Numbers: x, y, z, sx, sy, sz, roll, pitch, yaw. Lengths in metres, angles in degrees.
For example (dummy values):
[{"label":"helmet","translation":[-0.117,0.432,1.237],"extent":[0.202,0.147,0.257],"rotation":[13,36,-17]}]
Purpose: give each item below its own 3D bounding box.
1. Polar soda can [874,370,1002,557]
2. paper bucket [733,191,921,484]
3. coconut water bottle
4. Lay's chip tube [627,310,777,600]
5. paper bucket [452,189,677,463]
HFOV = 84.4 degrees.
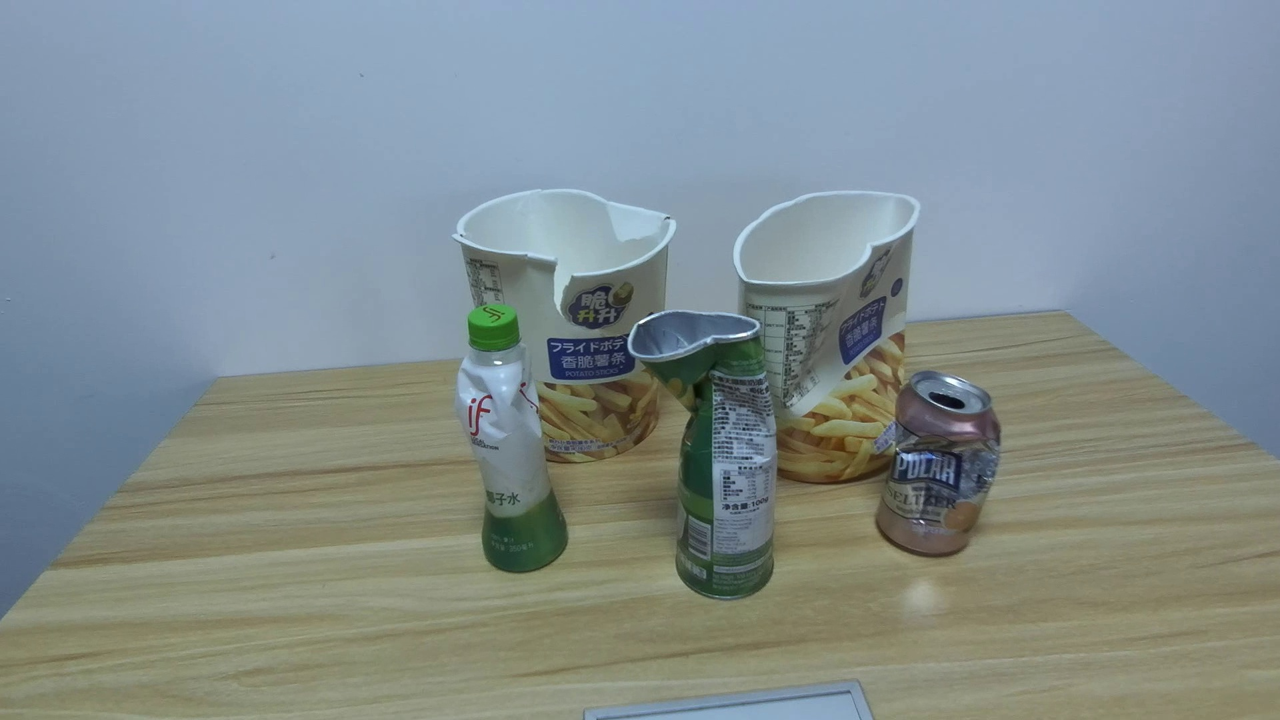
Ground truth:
[{"label":"Polar soda can","translation":[0.210,0.073,0.498],"extent":[0.071,0.122,0.067],"rotation":[9,26,18]},{"label":"paper bucket","translation":[0.154,-0.020,0.583],"extent":[0.147,0.199,0.218],"rotation":[3,29,9]},{"label":"coconut water bottle","translation":[-0.089,0.055,0.486],"extent":[0.067,0.187,0.067],"rotation":[-2,27,1]},{"label":"Lay's chip tube","translation":[0.046,0.061,0.451],"extent":[0.071,0.200,0.078],"rotation":[-17,29,-9]},{"label":"paper bucket","translation":[-0.057,-0.031,0.620],"extent":[0.201,0.197,0.146],"rotation":[20,38,35]}]
